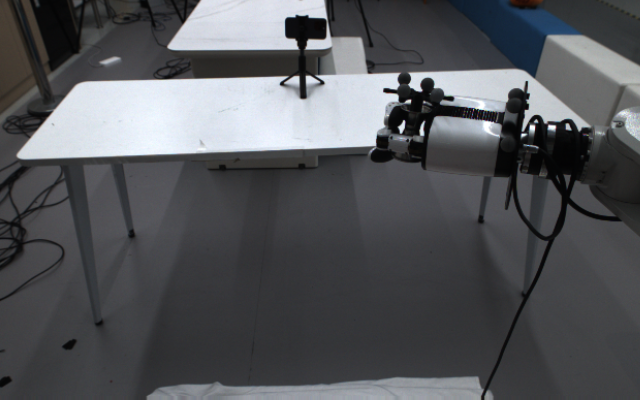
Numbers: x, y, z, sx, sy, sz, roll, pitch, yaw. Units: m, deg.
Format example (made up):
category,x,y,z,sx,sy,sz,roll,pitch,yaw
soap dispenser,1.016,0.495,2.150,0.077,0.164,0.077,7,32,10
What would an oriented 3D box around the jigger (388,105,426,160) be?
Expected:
category,x,y,z,sx,sy,sz,roll,pitch,yaw
jigger,0.121,-0.088,0.641,0.043,0.071,0.043,6,26,-3
